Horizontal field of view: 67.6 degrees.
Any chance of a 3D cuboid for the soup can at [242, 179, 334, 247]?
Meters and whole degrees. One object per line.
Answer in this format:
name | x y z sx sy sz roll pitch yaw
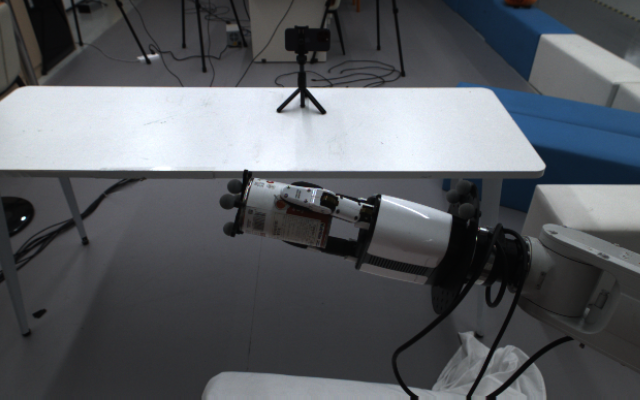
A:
soup can | -0.035 0.015 0.572 0.101 0.067 0.067 11 35 -2
